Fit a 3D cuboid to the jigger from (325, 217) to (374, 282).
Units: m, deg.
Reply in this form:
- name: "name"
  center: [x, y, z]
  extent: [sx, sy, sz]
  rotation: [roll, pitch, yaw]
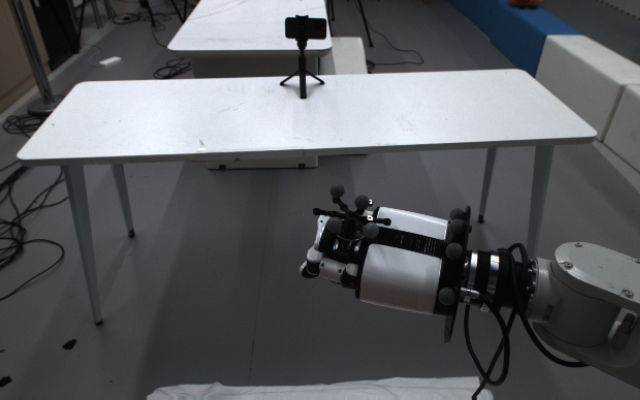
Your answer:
- name: "jigger"
  center: [0.032, 0.062, 0.580]
  extent: [0.043, 0.071, 0.043]
  rotation: [7, 32, -4]
